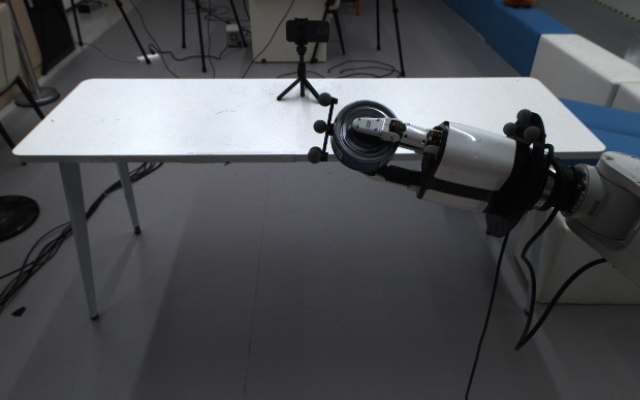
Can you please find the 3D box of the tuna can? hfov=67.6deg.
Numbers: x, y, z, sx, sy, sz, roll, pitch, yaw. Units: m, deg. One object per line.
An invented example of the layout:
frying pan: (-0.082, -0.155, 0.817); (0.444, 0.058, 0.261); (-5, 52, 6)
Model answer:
tuna can: (0.061, -0.078, 0.606); (0.085, 0.034, 0.085); (2, 73, -5)
